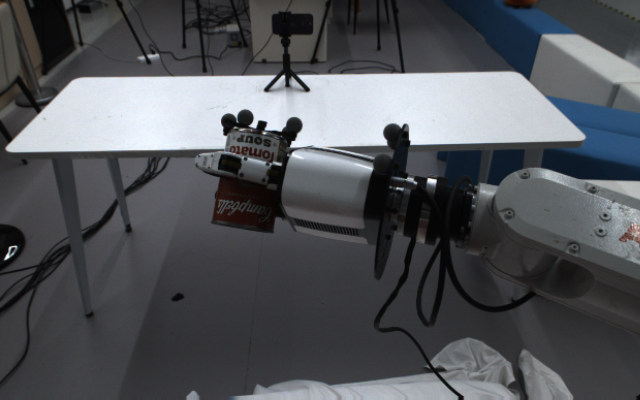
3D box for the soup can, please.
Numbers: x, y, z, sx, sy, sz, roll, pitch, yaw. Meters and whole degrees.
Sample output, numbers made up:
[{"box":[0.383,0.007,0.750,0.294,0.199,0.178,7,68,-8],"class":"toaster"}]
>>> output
[{"box":[-0.074,-0.018,0.521,0.067,0.101,0.067,9,-6,1],"class":"soup can"}]
